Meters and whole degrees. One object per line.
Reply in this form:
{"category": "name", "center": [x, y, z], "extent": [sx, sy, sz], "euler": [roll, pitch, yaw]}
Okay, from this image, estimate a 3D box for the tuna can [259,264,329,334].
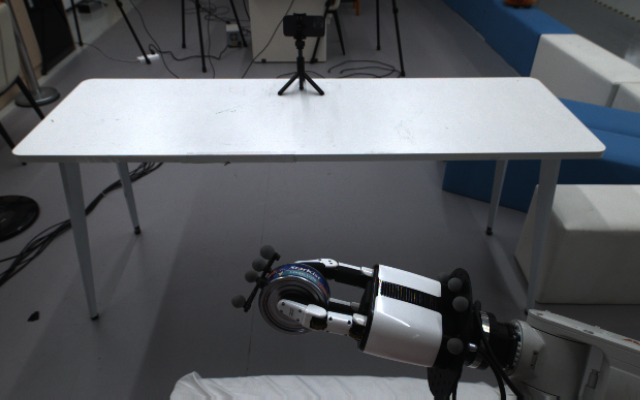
{"category": "tuna can", "center": [-0.027, 0.125, 0.594], "extent": [0.085, 0.085, 0.034], "euler": [3, 21, 1]}
